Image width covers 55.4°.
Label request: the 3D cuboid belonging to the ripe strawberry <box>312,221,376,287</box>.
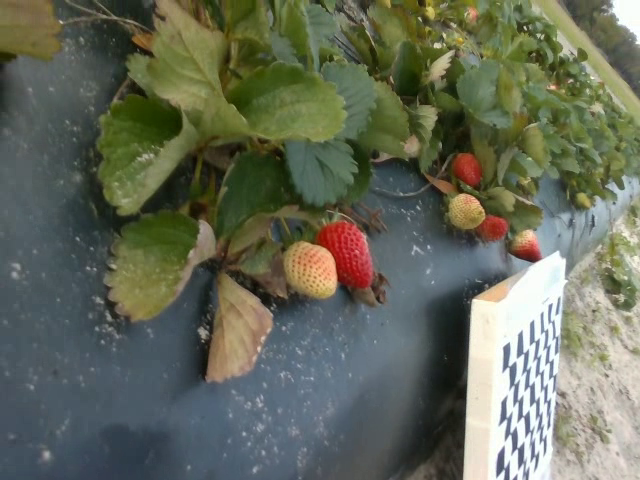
[{"bbox_3d":[0.015,0.008,0.303,0.041,0.033,0.034,40,-2,39],"label":"ripe strawberry"}]
